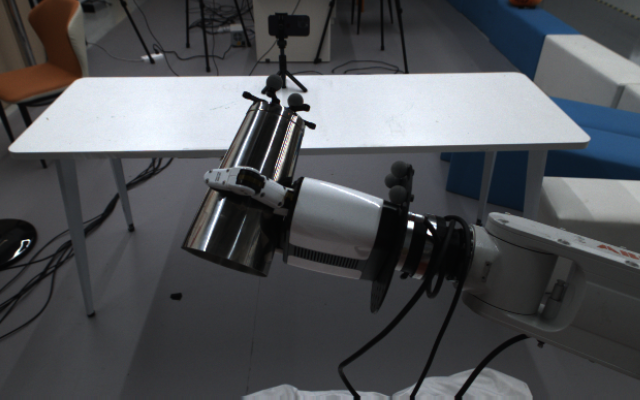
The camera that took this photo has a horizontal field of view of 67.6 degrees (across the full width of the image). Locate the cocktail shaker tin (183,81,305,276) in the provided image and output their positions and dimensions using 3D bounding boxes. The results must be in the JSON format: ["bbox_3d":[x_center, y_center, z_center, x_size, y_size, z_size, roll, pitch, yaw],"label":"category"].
[{"bbox_3d":[-0.071,-0.013,0.513,0.093,0.093,0.170,14,74,16],"label":"cocktail shaker tin"}]
